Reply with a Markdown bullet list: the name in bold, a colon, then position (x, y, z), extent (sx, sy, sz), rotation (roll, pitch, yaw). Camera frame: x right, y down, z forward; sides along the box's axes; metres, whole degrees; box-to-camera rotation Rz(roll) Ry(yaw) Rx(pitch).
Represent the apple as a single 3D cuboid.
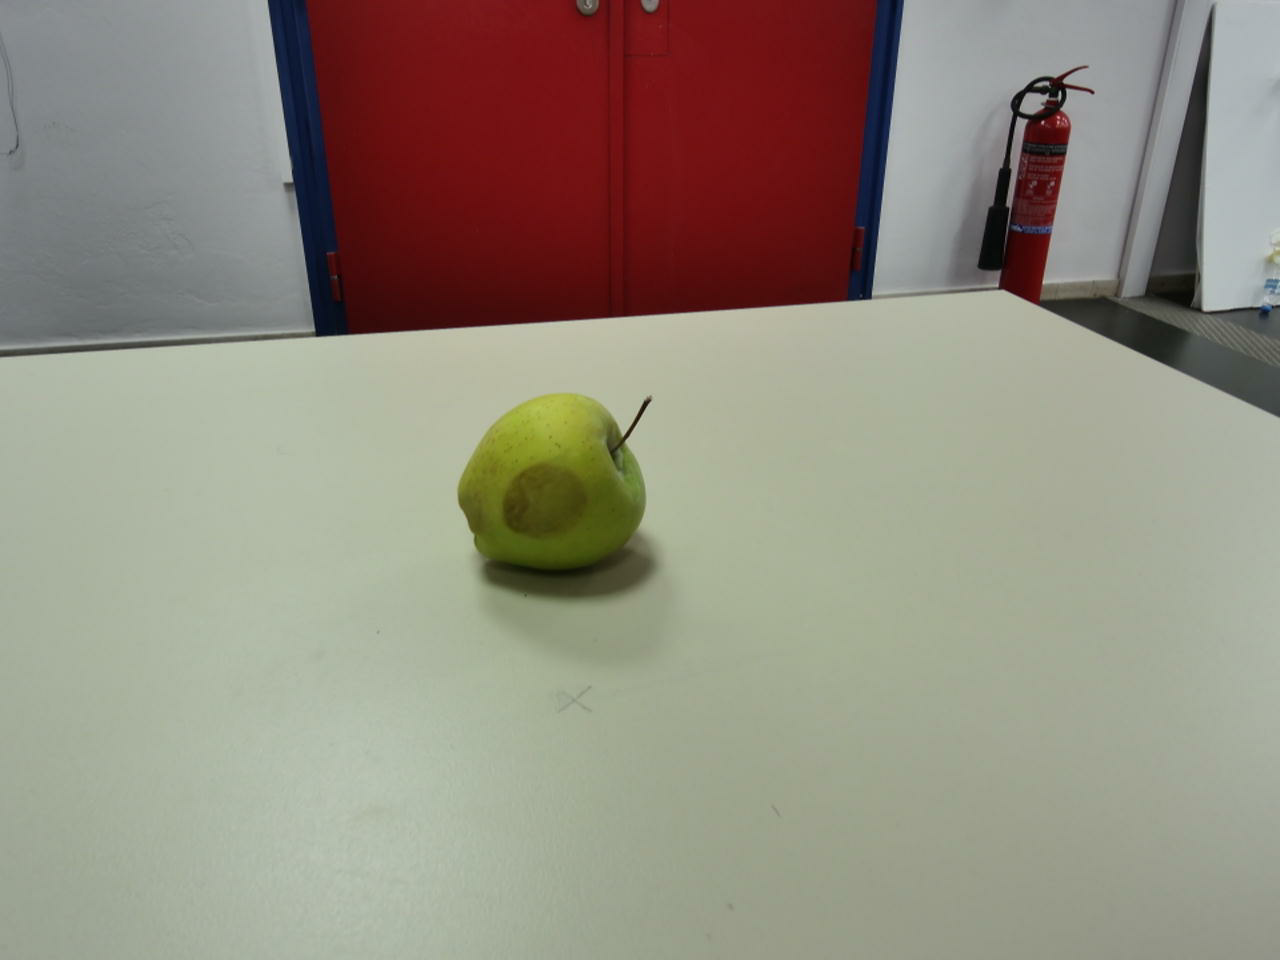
- **apple**: position (-0.036, 0.000, 0.428), extent (0.077, 0.075, 0.072), rotation (15, 28, 28)
